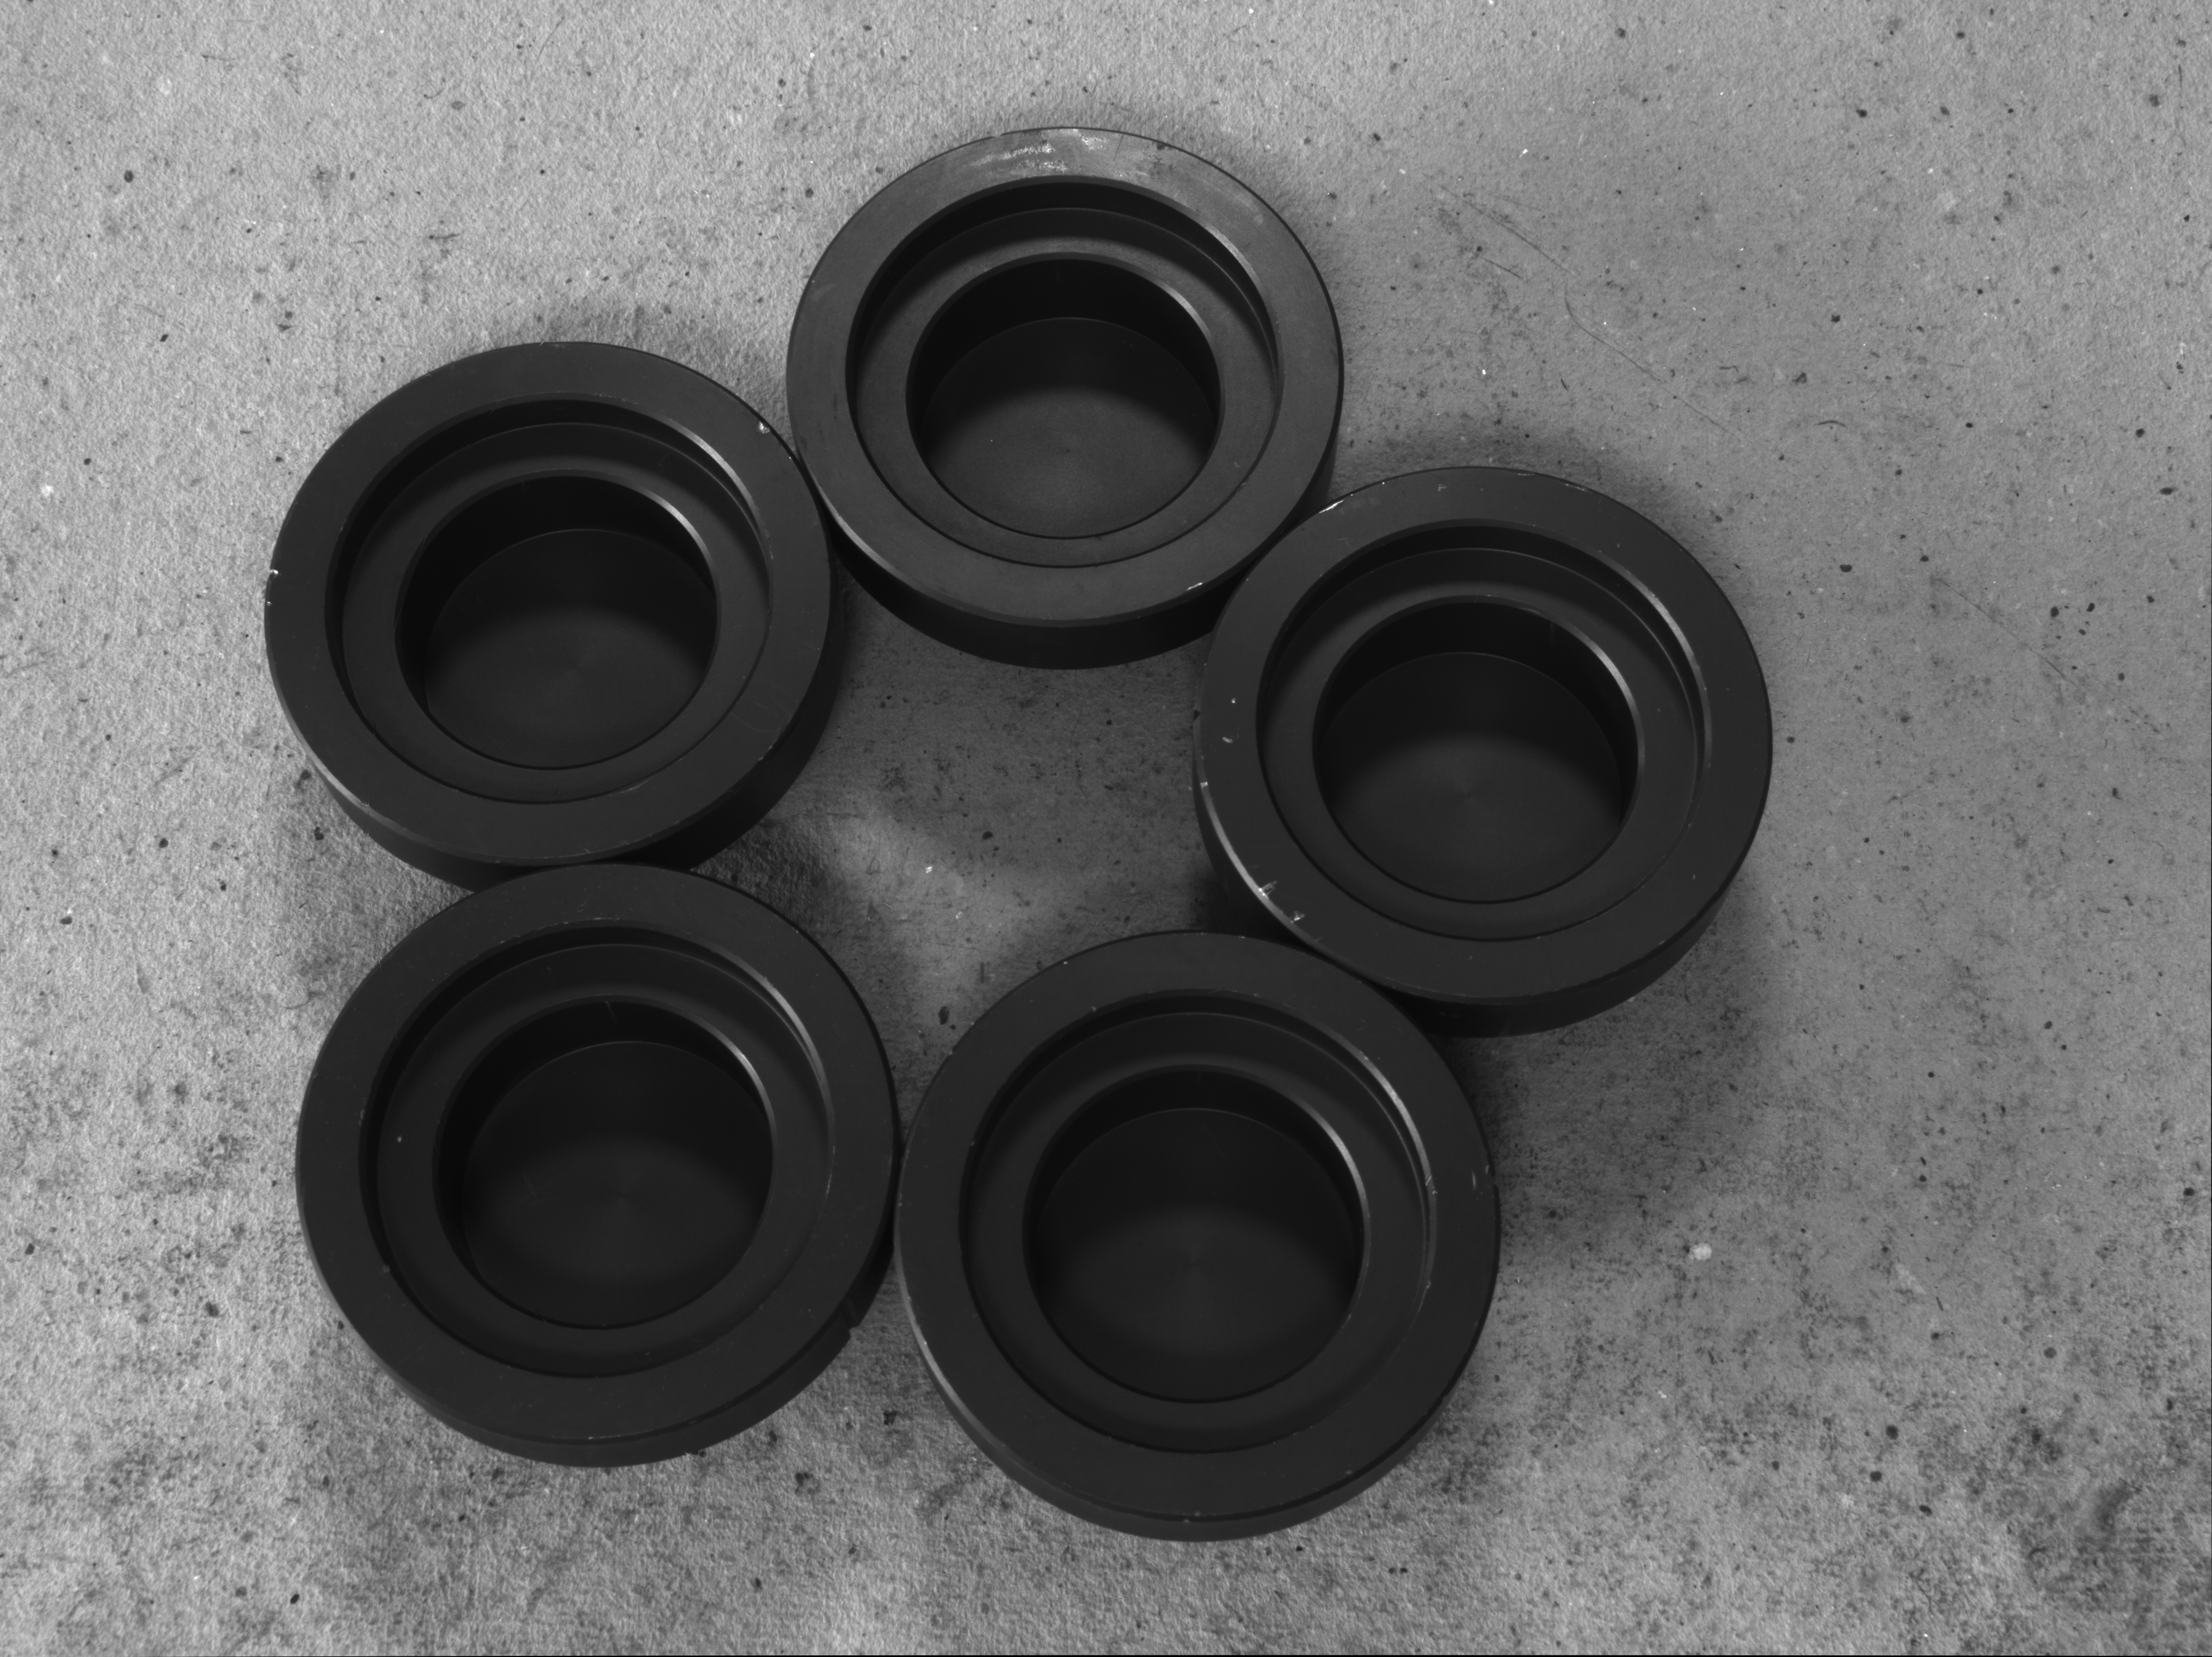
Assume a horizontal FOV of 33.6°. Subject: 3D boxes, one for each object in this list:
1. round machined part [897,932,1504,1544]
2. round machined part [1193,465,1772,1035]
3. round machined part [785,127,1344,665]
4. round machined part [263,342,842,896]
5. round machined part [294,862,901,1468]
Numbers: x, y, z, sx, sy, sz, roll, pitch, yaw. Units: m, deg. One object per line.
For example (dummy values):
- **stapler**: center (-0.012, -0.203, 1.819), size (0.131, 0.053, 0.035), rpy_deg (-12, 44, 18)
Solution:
- **round machined part**: center (0.015, 0.070, 0.610), size (0.098, 0.042, 0.098), rpy_deg (0, 69, -1)
- **round machined part**: center (0.064, -0.010, 0.639), size (0.098, 0.042, 0.098), rpy_deg (0, 68, -1)
- **round machined part**: center (-0.007, -0.074, 0.662), size (0.098, 0.042, 0.098), rpy_deg (0, 68, -1)
- **round machined part**: center (-0.095, -0.033, 0.648), size (0.098, 0.042, 0.098), rpy_deg (0, 68, 0)
- **round machined part**: center (-0.083, 0.059, 0.614), size (0.098, 0.042, 0.098), rpy_deg (0, 68, -1)
